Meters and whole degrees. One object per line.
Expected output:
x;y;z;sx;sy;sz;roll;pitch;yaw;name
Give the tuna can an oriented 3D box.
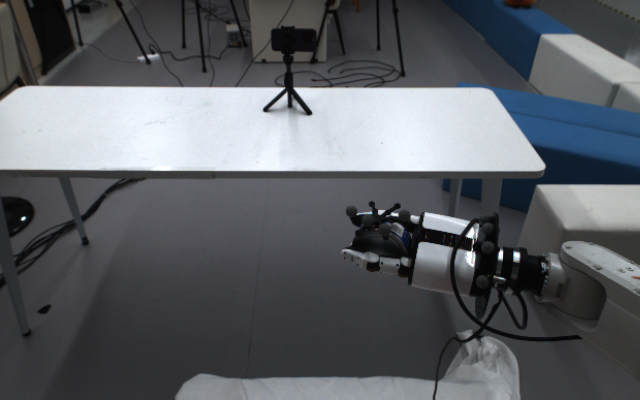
0.096;0.066;0.733;0.085;0.085;0.034;14;41;16;tuna can
